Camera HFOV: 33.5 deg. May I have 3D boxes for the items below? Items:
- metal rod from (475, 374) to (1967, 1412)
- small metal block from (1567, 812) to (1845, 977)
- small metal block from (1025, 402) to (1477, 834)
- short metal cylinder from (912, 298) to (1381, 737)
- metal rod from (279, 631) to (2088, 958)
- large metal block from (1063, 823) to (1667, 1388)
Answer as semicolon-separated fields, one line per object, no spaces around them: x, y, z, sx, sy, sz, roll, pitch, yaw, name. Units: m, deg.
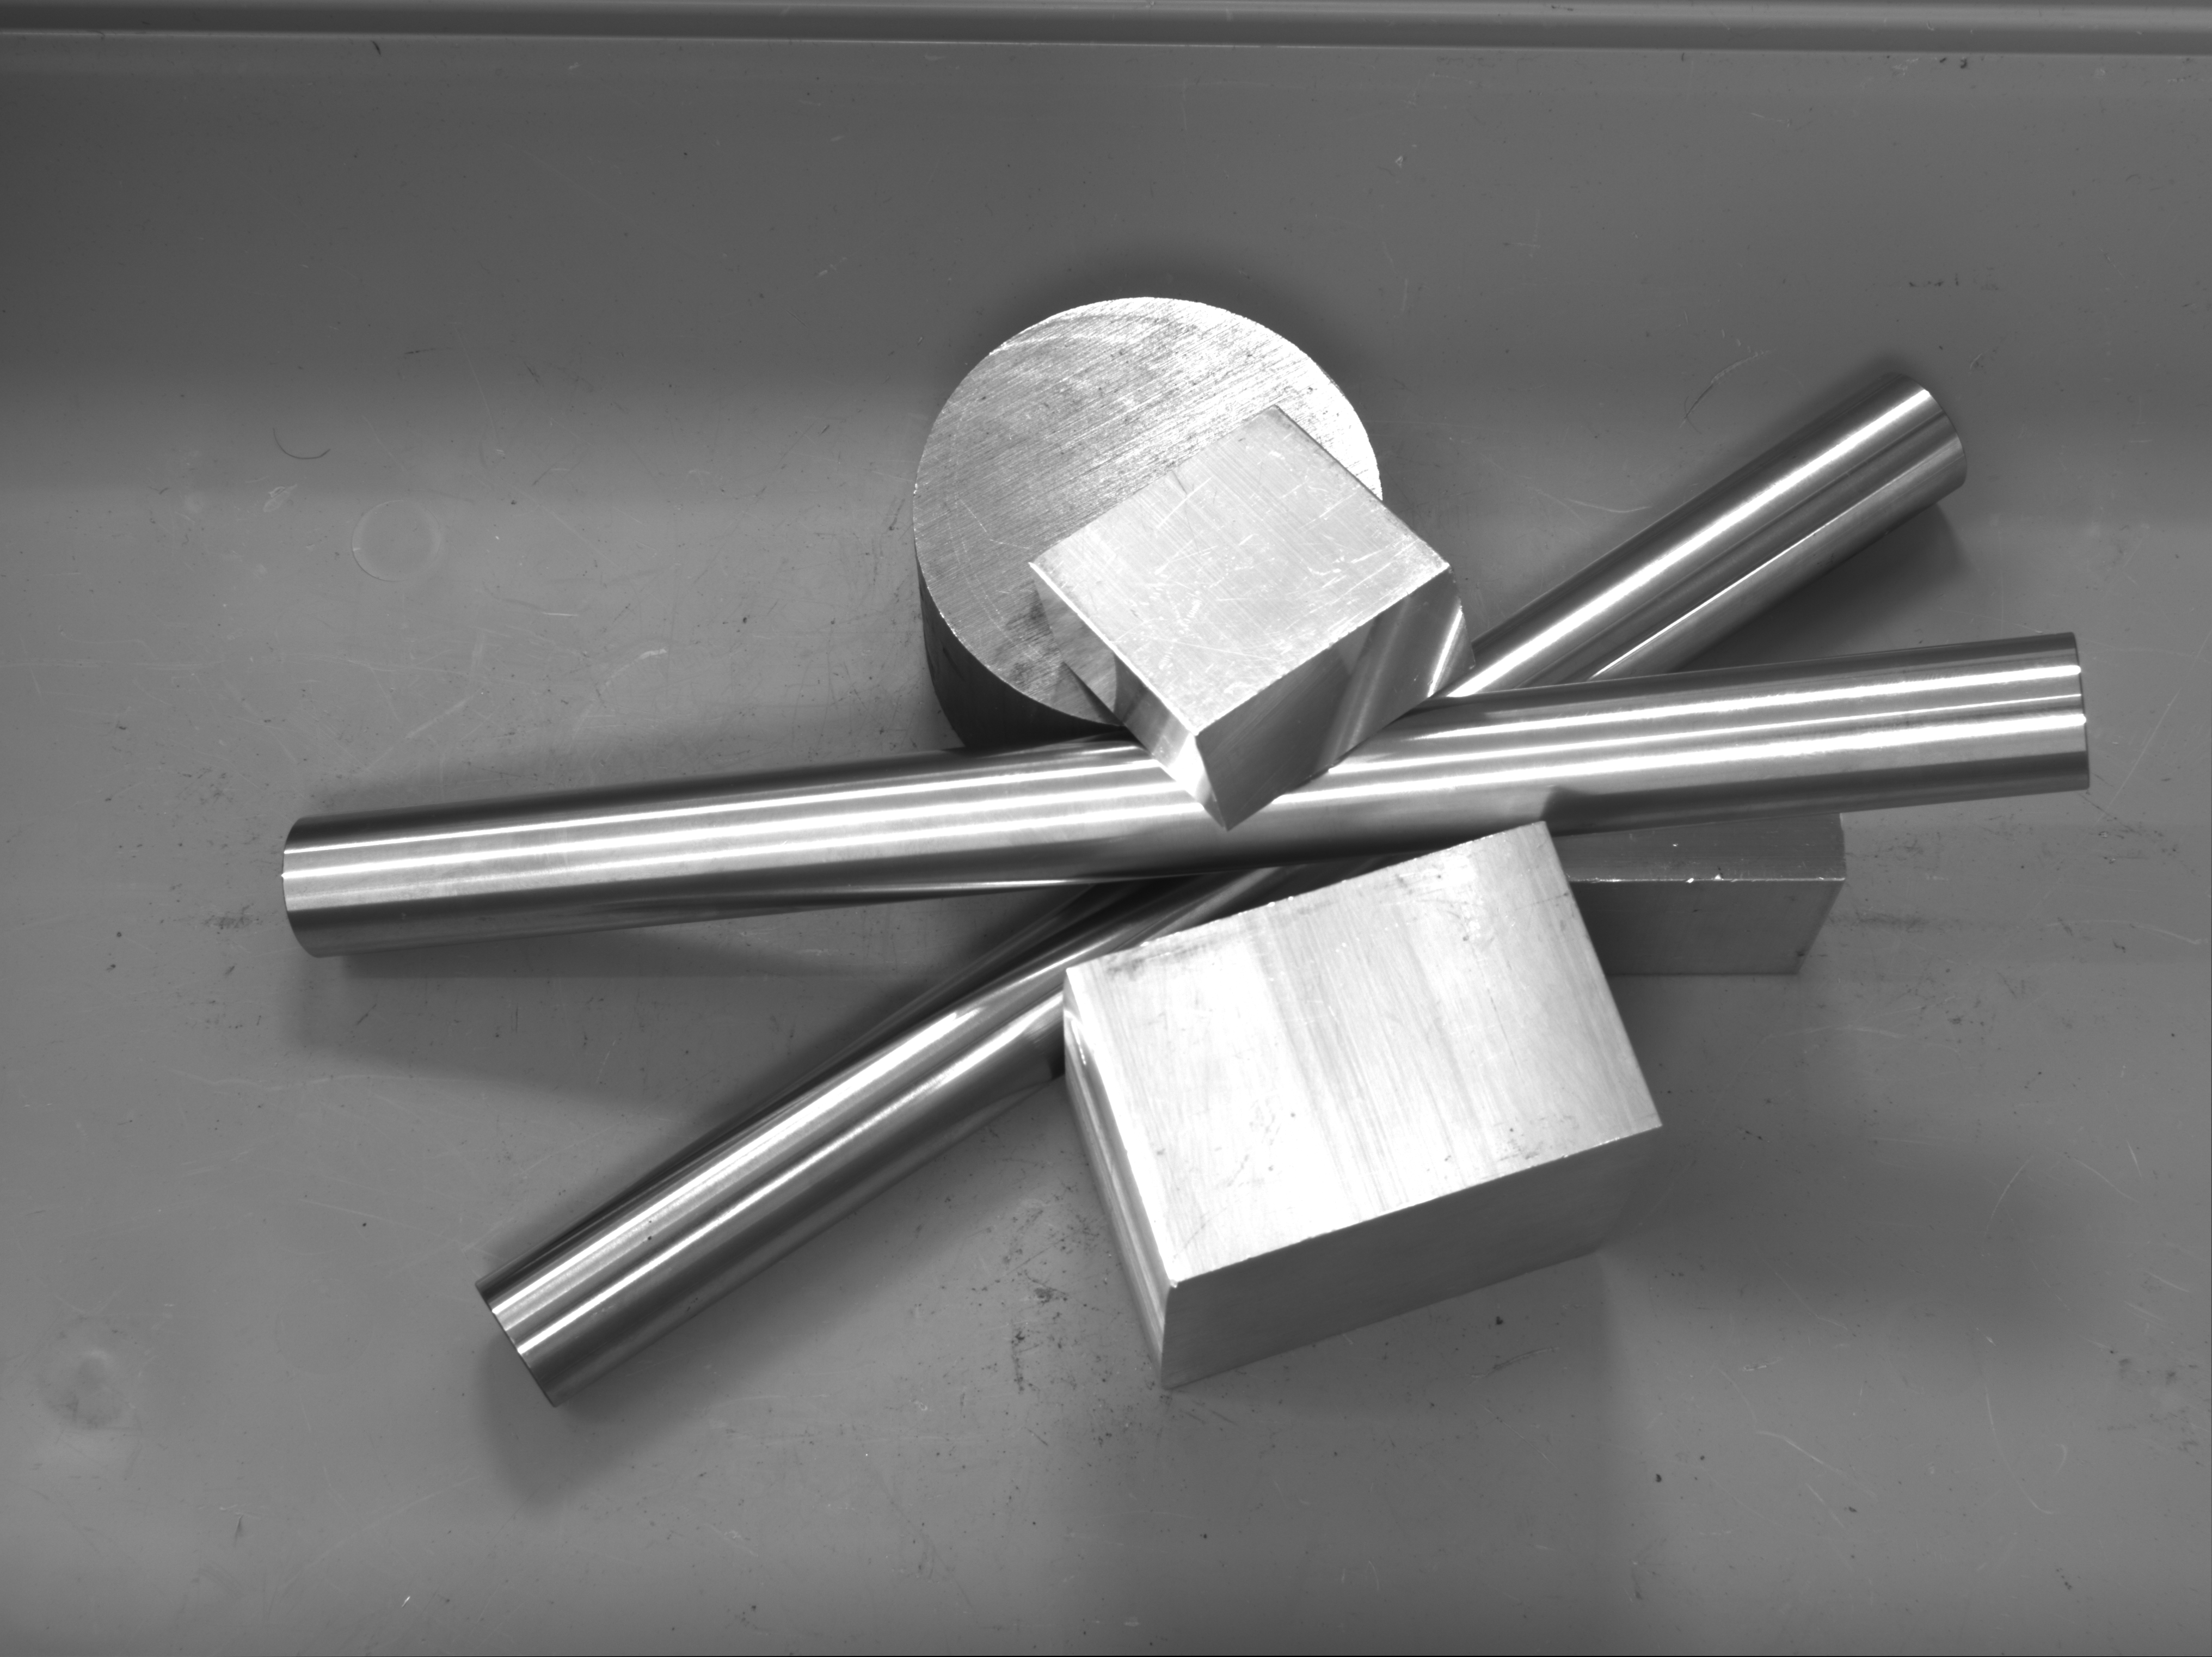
0.025;0.007;0.642;0.300;0.025;0.025;-33;73;-11;metal rod
0.097;0.006;0.629;0.050;0.050;0.025;0;70;1;small metal block
0.023;-0.035;0.595;0.050;0.025;0.050;-34;51;-11;small metal block
0.007;-0.046;0.648;0.080;0.050;0.080;0;69;0;short metal cylinder
0.007;-0.004;0.608;0.300;0.025;0.025;-6;69;12;metal rod
0.039;0.047;0.597;0.080;0.080;0.050;-17;71;-6;large metal block
